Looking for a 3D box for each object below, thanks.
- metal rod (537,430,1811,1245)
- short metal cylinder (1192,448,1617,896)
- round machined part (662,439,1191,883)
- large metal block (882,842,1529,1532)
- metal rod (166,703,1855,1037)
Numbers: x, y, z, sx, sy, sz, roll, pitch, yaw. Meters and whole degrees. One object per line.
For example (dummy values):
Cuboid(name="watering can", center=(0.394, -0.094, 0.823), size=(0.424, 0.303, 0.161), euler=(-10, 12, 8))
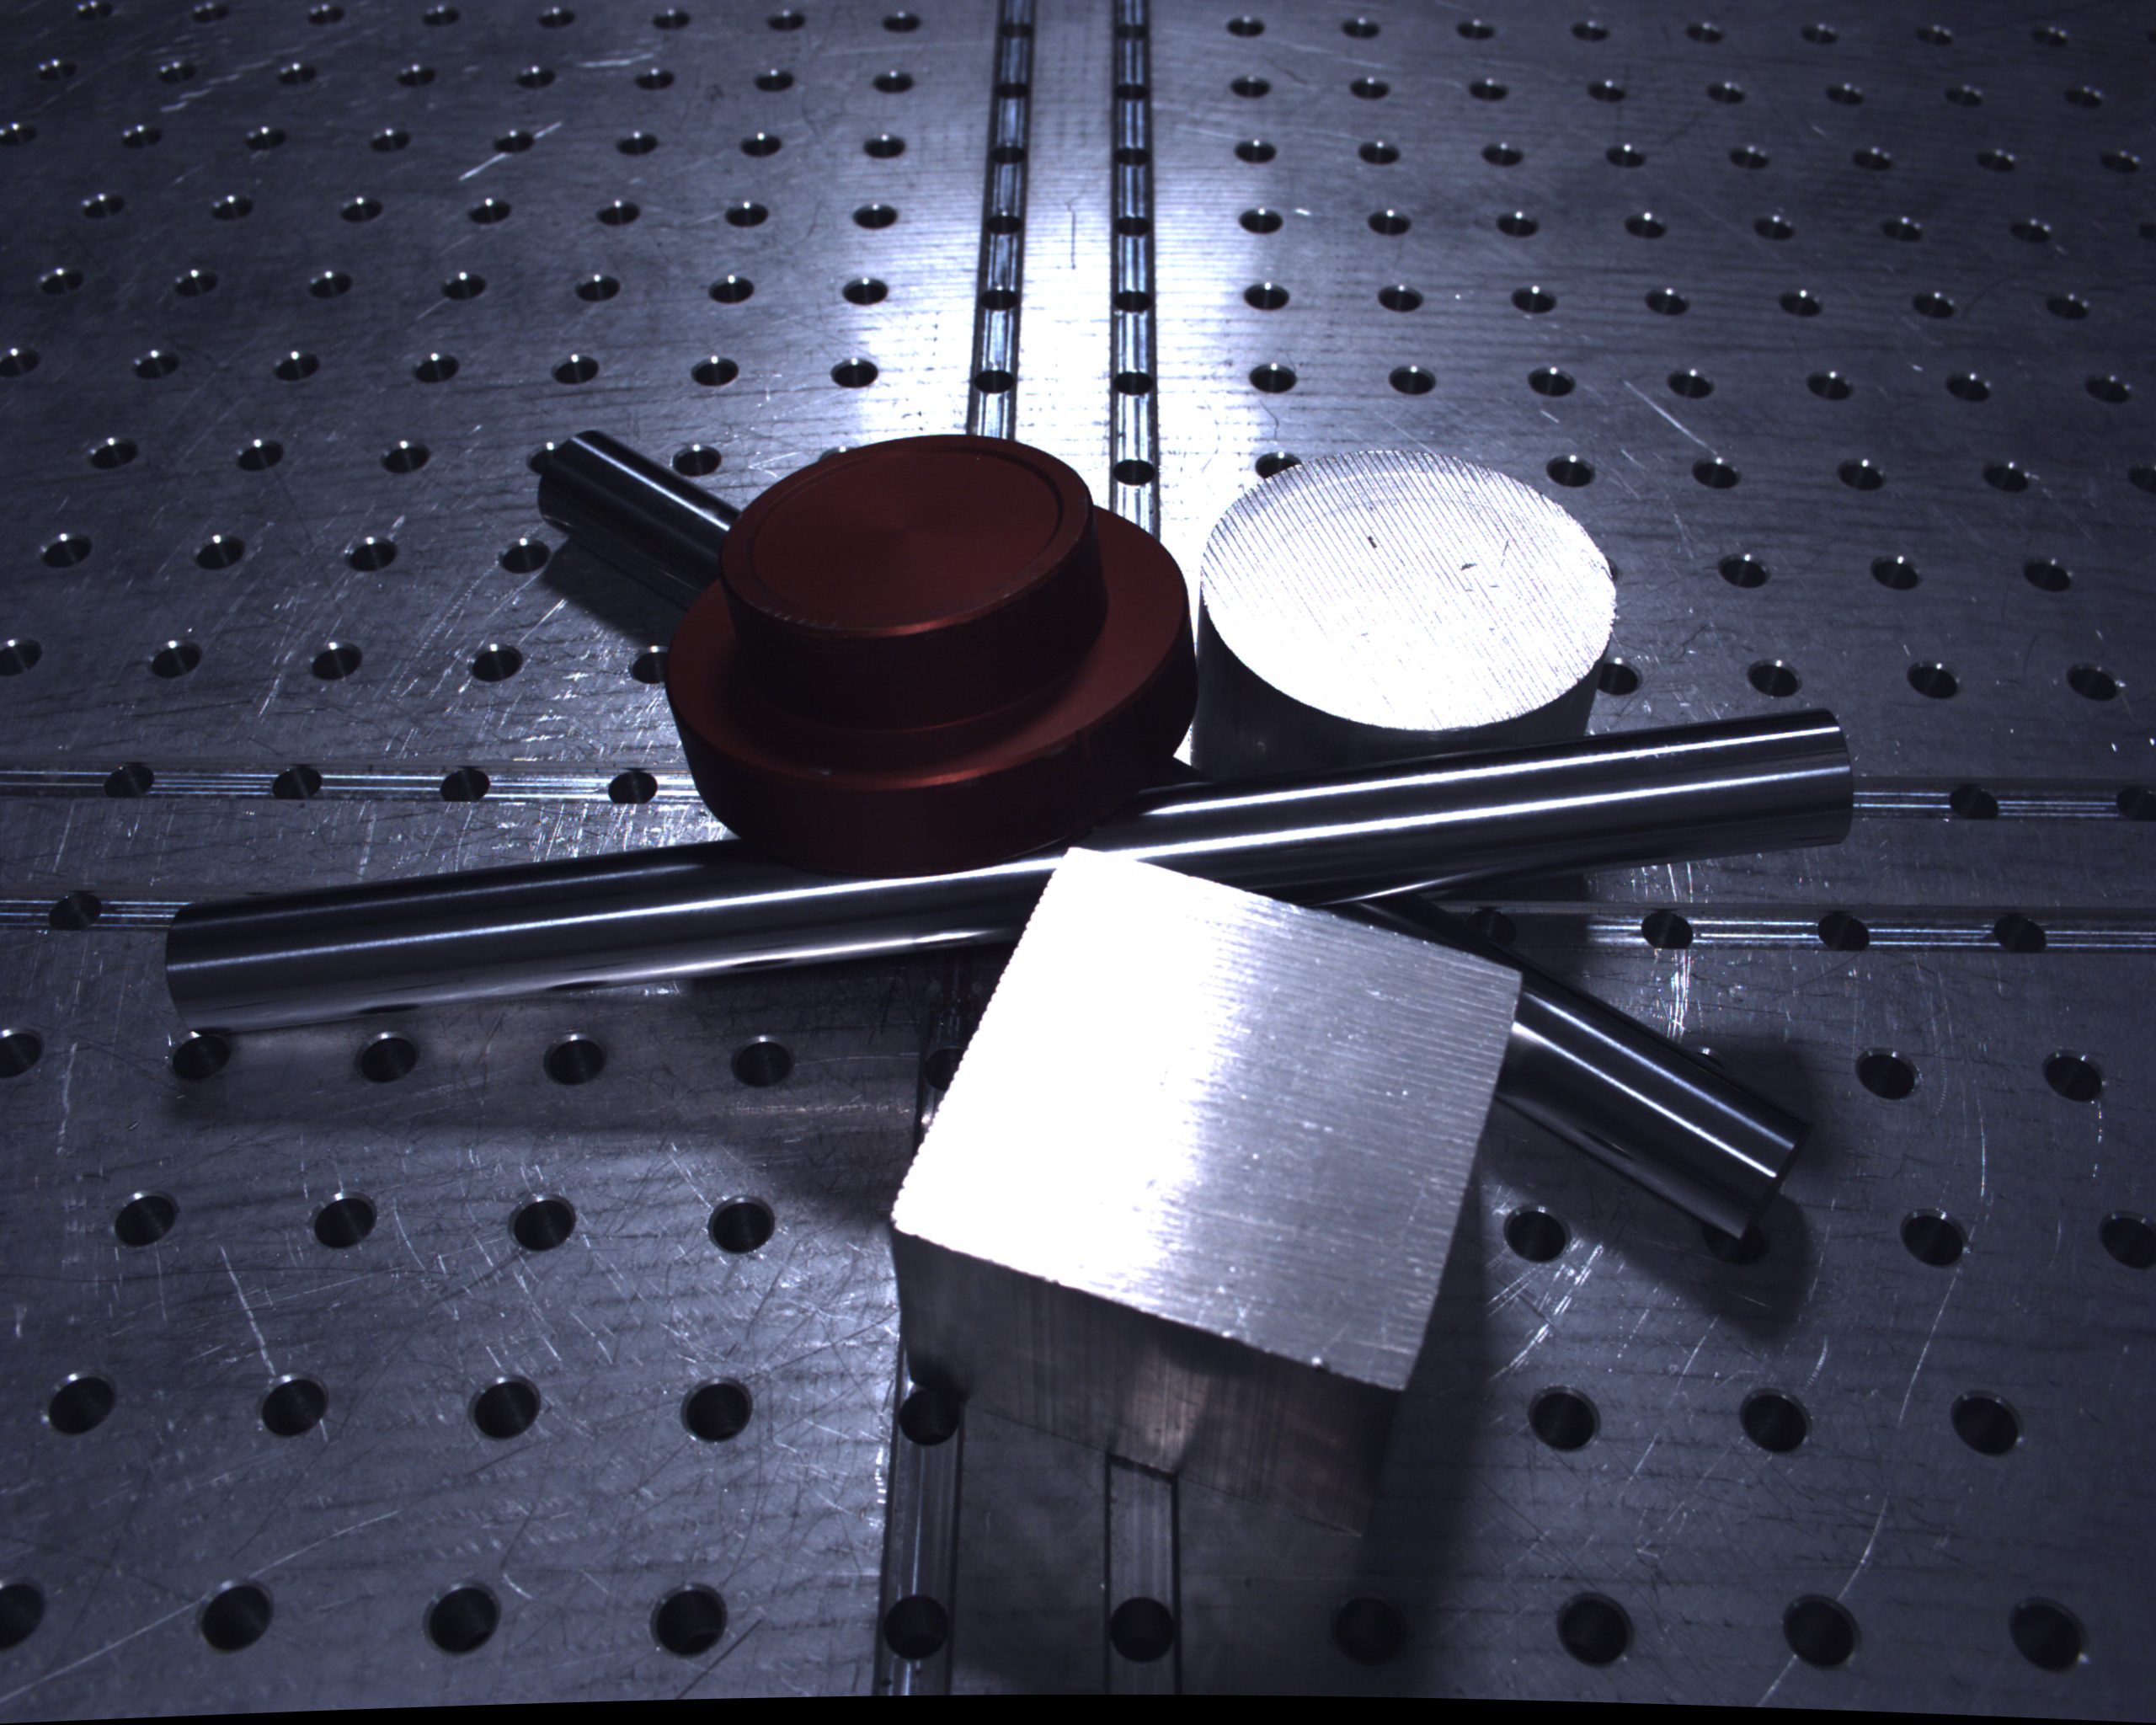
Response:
Cuboid(name="metal rod", center=(0.003, -0.016, 0.421), size=(0.300, 0.025, 0.025), euler=(31, 57, 23))
Cuboid(name="short metal cylinder", center=(0.064, -0.039, 0.424), size=(0.081, 0.050, 0.080), euler=(0, 50, 0))
Cuboid(name="round machined part", center=(-0.029, -0.044, 0.389), size=(0.099, 0.042, 0.098), euler=(-4, 41, 4))
Cuboid(name="large metal block", center=(0.022, 0.052, 0.345), size=(0.080, 0.050, 0.080), euler=(16, 52, 12))
Cuboid(name="metal rod", center=(-0.014, 0.002, 0.382), size=(0.302, 0.025, 0.025), euler=(-7, 50, 3))
